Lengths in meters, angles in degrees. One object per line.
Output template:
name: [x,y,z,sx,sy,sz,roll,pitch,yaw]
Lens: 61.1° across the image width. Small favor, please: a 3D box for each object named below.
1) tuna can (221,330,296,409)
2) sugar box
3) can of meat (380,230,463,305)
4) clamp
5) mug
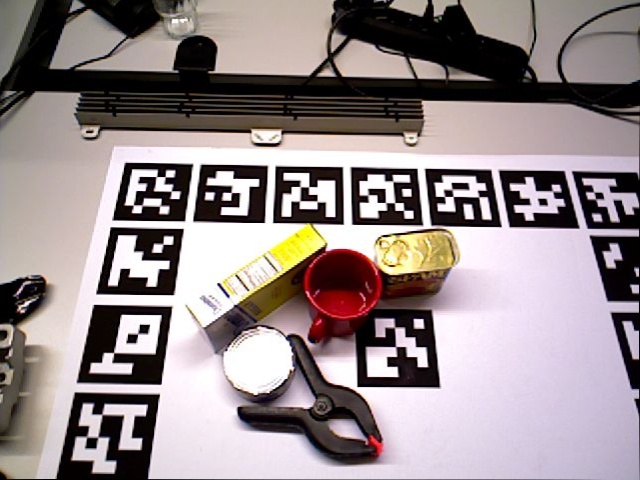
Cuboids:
tuna can: [-0.071,0.152,0.635,0.085,0.034,0.085,0,64,-1]
sugar box: [-0.069,0.064,0.654,0.173,0.094,0.045,-34,67,-20]
can of meat: [0.122,0.036,0.679,0.101,0.085,0.057,-7,61,-7]
clamp: [0.007,0.203,0.616,0.165,0.037,0.119,34,62,10]
mug: [0.024,0.076,0.647,0.093,0.083,0.115,23,65,9]
